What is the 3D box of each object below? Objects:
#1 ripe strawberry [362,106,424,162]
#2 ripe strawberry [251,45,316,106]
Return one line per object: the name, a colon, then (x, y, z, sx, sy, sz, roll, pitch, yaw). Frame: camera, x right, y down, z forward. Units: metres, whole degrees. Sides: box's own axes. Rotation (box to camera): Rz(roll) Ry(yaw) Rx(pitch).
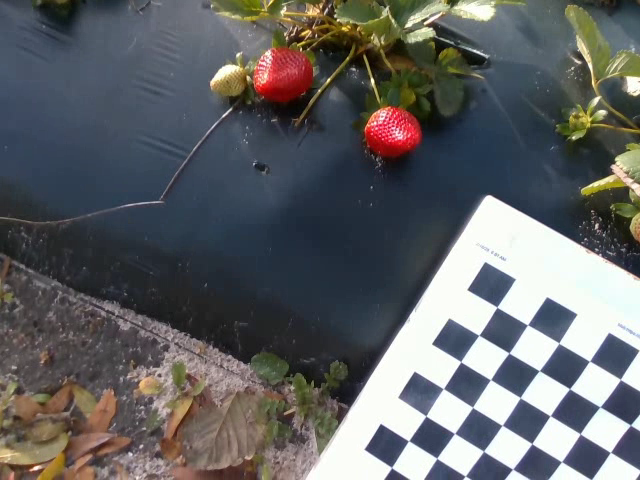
ripe strawberry: (0.041, -0.058, 0.301, 0.033, 0.038, 0.039, 36, 20, -14)
ripe strawberry: (-0.020, -0.091, 0.305, 0.035, 0.041, 0.036, 16, 31, 12)
